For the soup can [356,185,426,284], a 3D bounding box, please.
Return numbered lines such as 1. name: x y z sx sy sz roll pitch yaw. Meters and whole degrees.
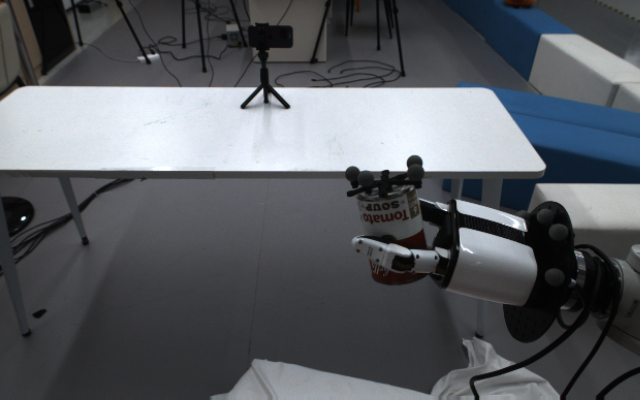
1. soup can: 0.084 0.032 0.536 0.067 0.101 0.067 -12 17 4
